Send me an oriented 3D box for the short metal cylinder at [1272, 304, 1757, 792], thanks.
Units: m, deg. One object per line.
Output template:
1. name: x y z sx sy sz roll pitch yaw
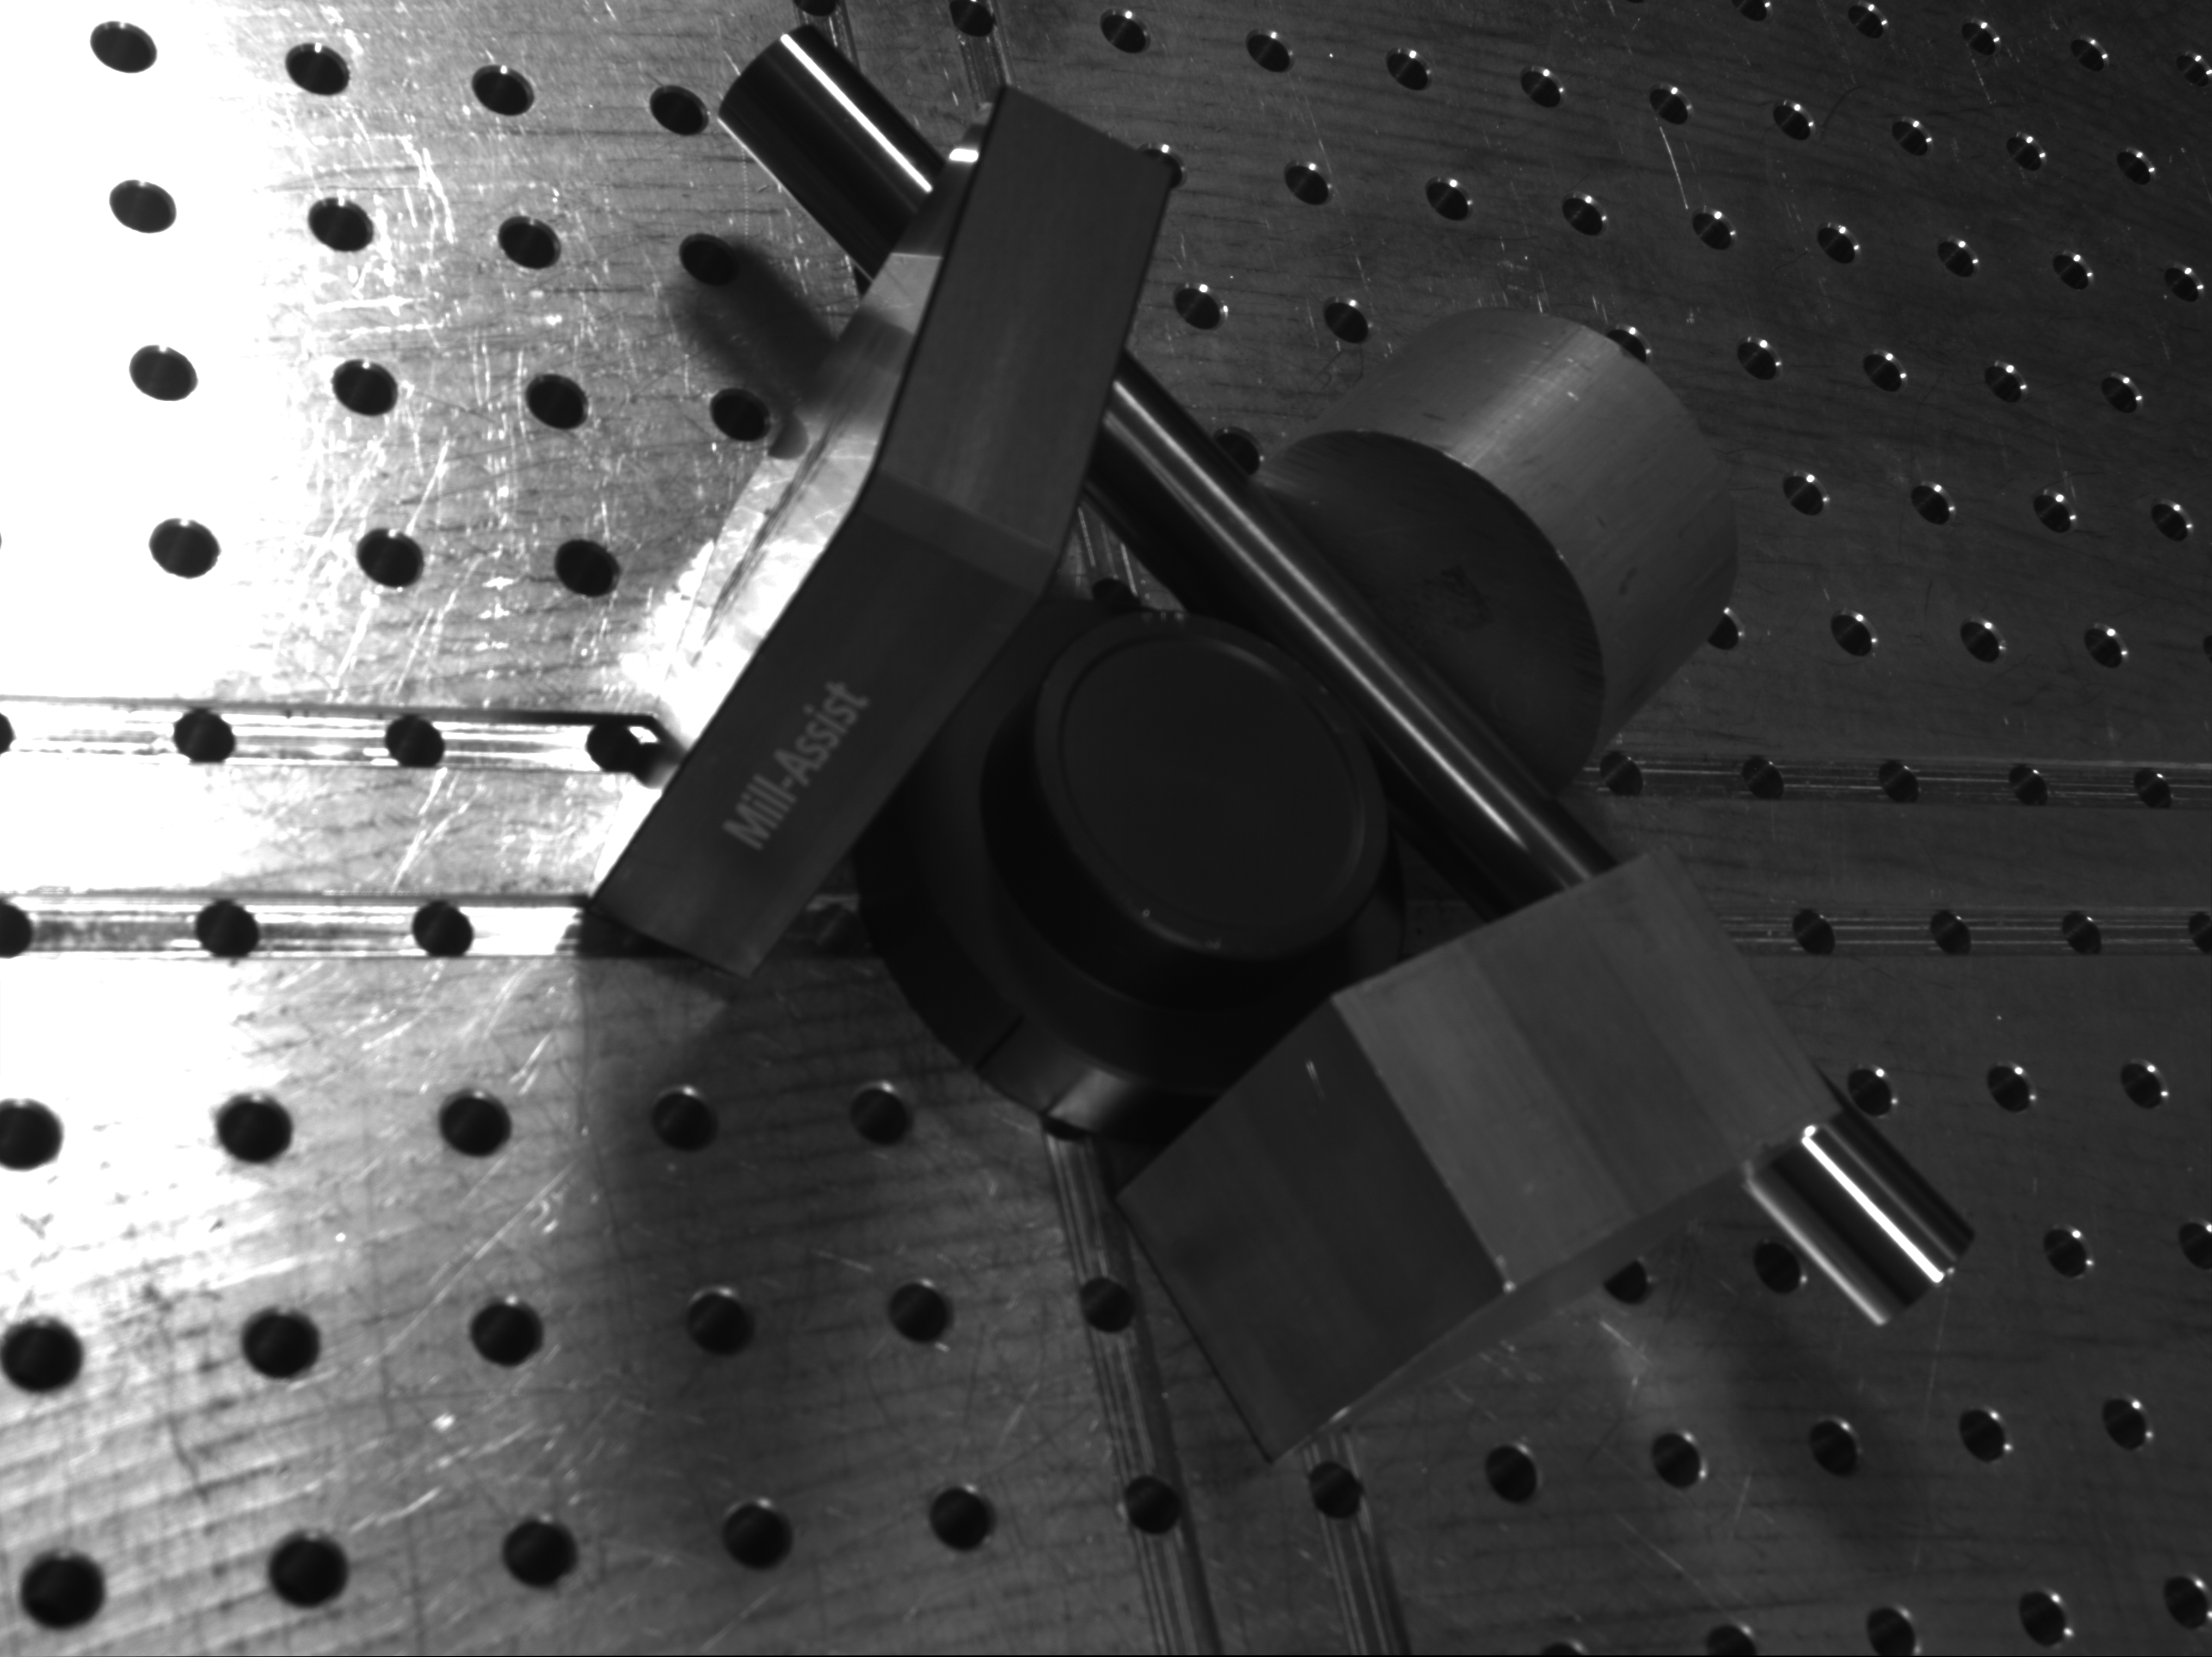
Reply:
1. short metal cylinder: 0.072 -0.049 0.675 0.080 0.080 0.050 45 51 3

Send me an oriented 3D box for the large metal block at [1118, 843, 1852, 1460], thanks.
1. large metal block: 0.062 0.054 0.608 0.080 0.080 0.050 -21 73 -36

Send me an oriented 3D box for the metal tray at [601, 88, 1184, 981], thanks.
1. metal tray: -0.036 -0.044 0.584 0.030 0.130 0.090 24 53 -13

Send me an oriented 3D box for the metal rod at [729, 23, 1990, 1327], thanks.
1. metal rod: 0.044 -0.029 0.657 0.300 0.025 0.025 46 51 4

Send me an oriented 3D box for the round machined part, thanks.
1. round machined part: 0.012 0.002 0.637 0.098 0.042 0.098 14 56 -21
